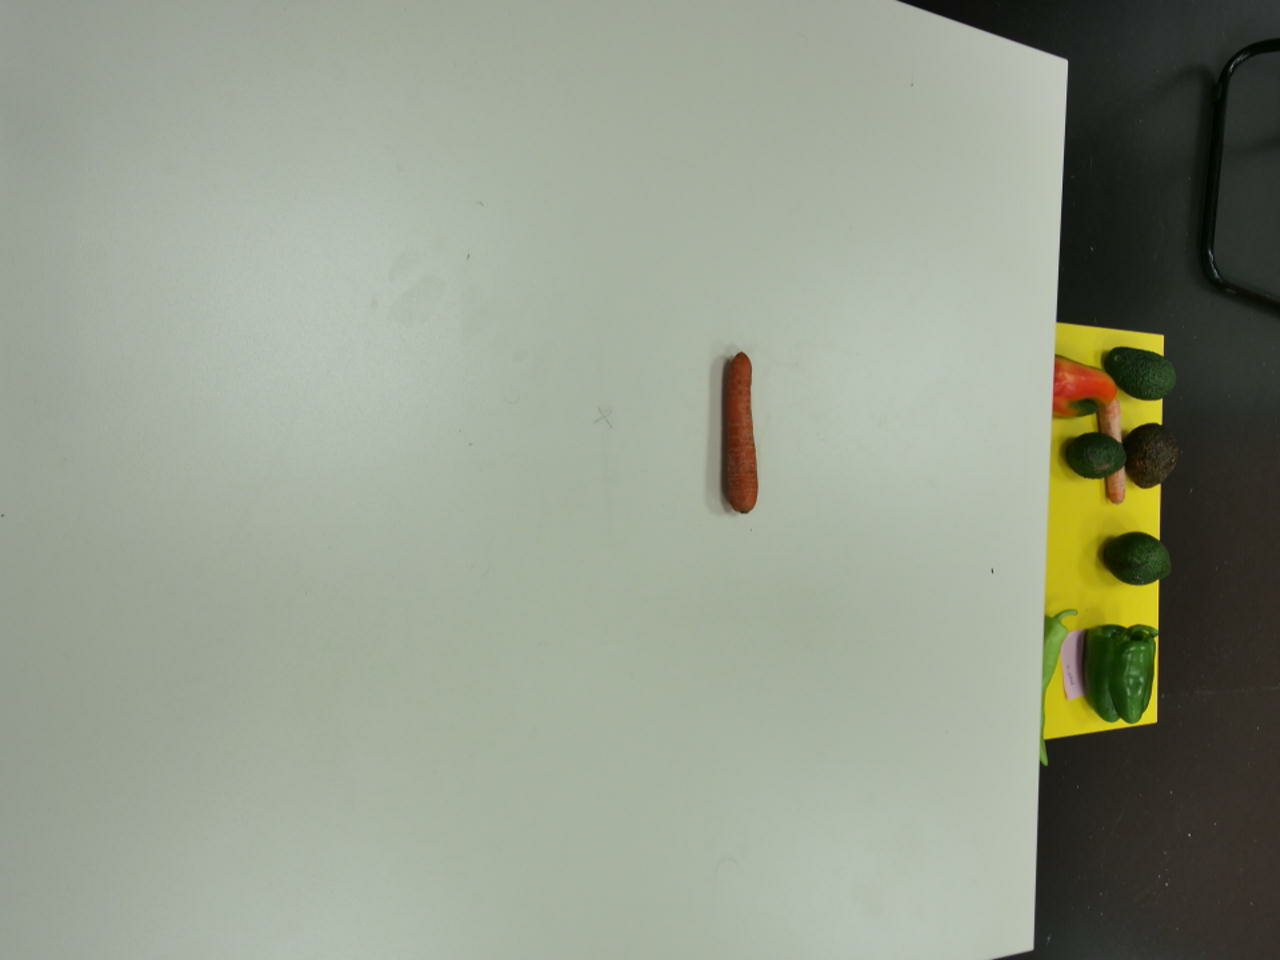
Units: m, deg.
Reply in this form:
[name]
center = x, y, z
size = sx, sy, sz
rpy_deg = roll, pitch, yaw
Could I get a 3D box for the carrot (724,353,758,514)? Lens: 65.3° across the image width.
[carrot]
center = 0.077, -0.036, 0.750
size = 0.024, 0.023, 0.122
rpy_deg = 0, 90, -29
